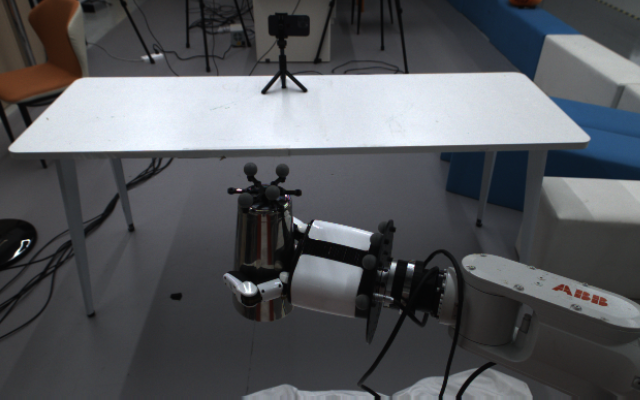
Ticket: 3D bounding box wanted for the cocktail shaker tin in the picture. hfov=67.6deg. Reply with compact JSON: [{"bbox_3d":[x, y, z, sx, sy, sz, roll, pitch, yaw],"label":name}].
[{"bbox_3d":[-0.070,0.067,0.638,0.093,0.170,0.093,3,34,-2],"label":"cocktail shaker tin"}]
